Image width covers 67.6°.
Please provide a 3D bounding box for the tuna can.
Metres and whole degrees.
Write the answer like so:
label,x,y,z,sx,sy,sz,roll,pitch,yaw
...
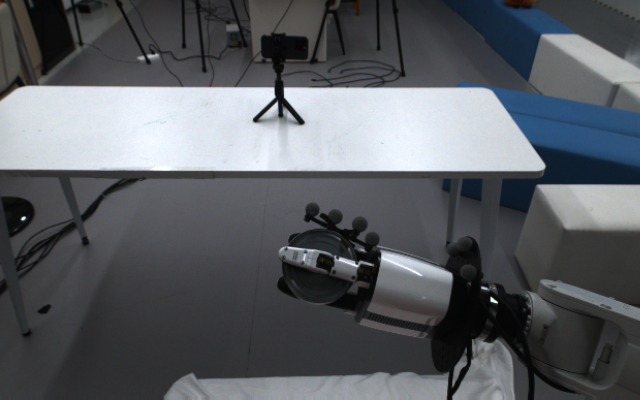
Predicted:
label,x,y,z,sx,sy,sz,roll,pitch,yaw
tuna can,0.001,0.077,0.564,0.085,0.034,0.085,0,72,0
